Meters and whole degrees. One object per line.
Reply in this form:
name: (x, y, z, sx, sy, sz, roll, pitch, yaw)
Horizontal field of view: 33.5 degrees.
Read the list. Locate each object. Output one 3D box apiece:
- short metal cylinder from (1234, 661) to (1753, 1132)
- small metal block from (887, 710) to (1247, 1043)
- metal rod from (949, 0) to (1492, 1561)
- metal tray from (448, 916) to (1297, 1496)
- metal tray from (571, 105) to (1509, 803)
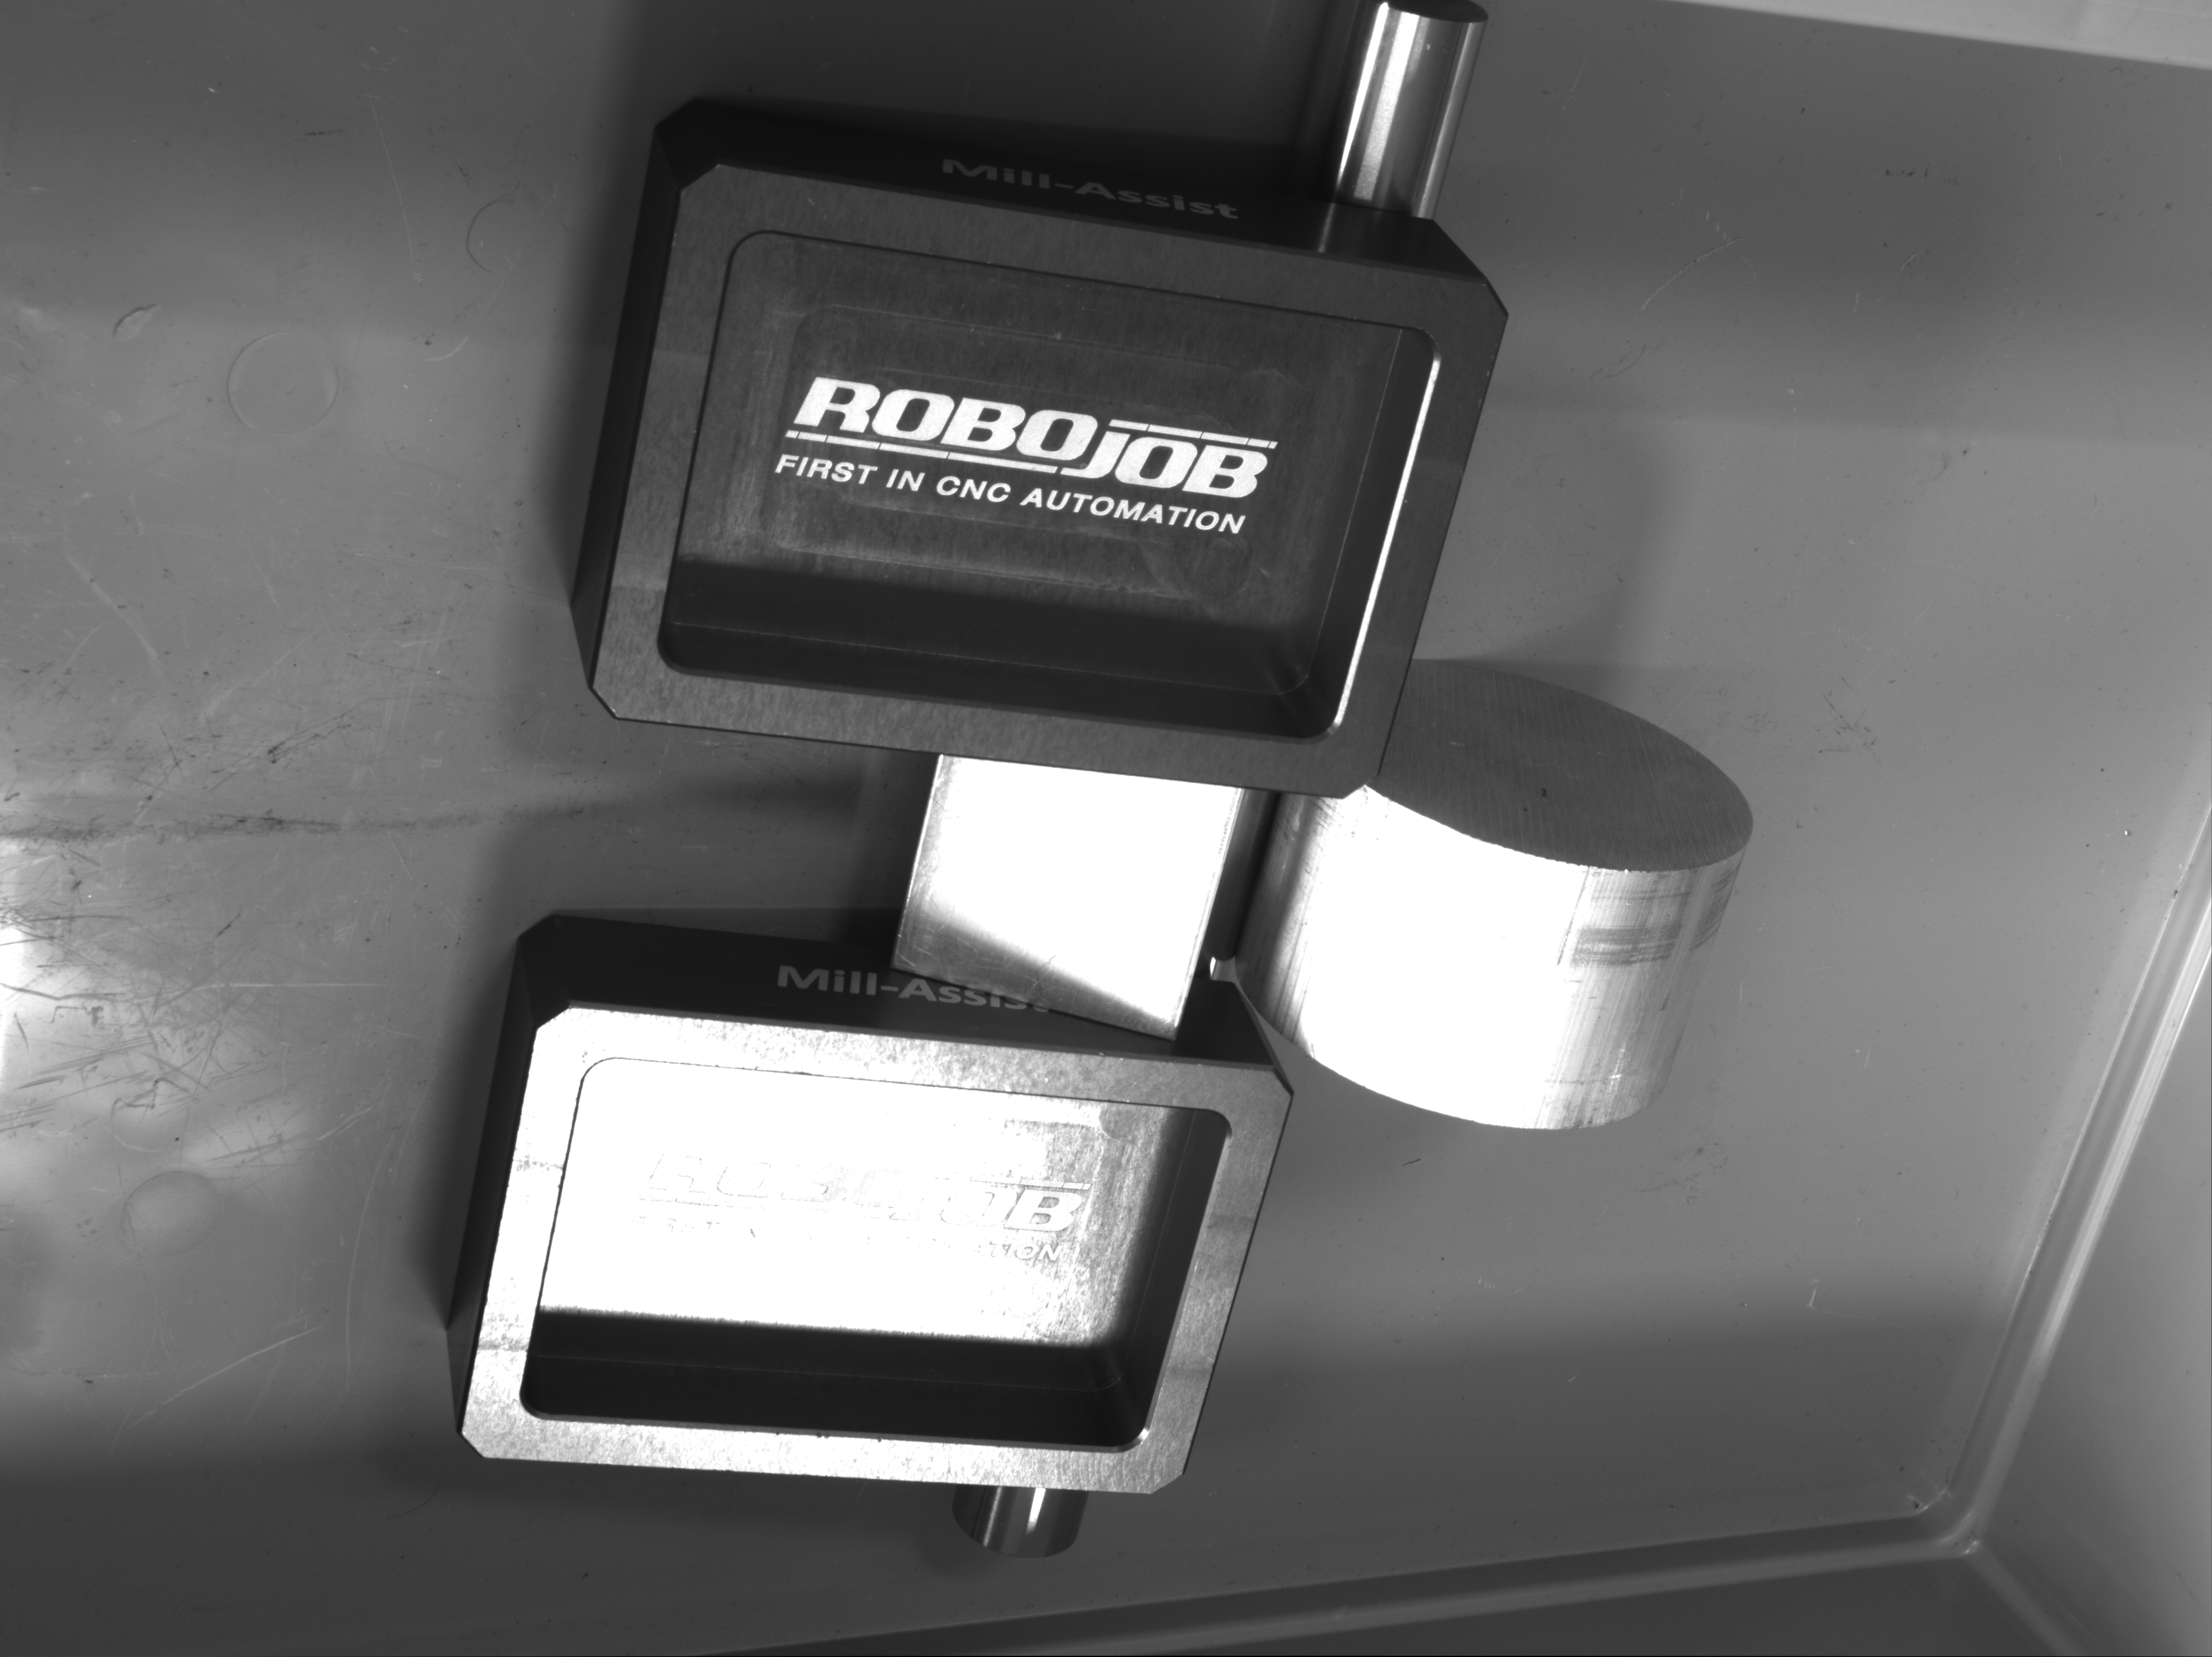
short metal cylinder: (0.067, 0.010, 0.644, 0.080, 0.080, 0.050, 0, 118, -28)
small metal block: (-0.006, 0.003, 0.621, 0.050, 0.025, 0.050, 15, 114, 0)
metal rod: (0.016, 0.001, 0.644, 0.025, 0.025, 0.300, 0, 118, -28)
metal tray: (-0.041, 0.067, 0.634, 0.130, 0.030, 0.090, 6, 116, -17)
metal tray: (-0.012, -0.056, 0.575, 0.130, 0.030, 0.090, 6, 116, -17)
